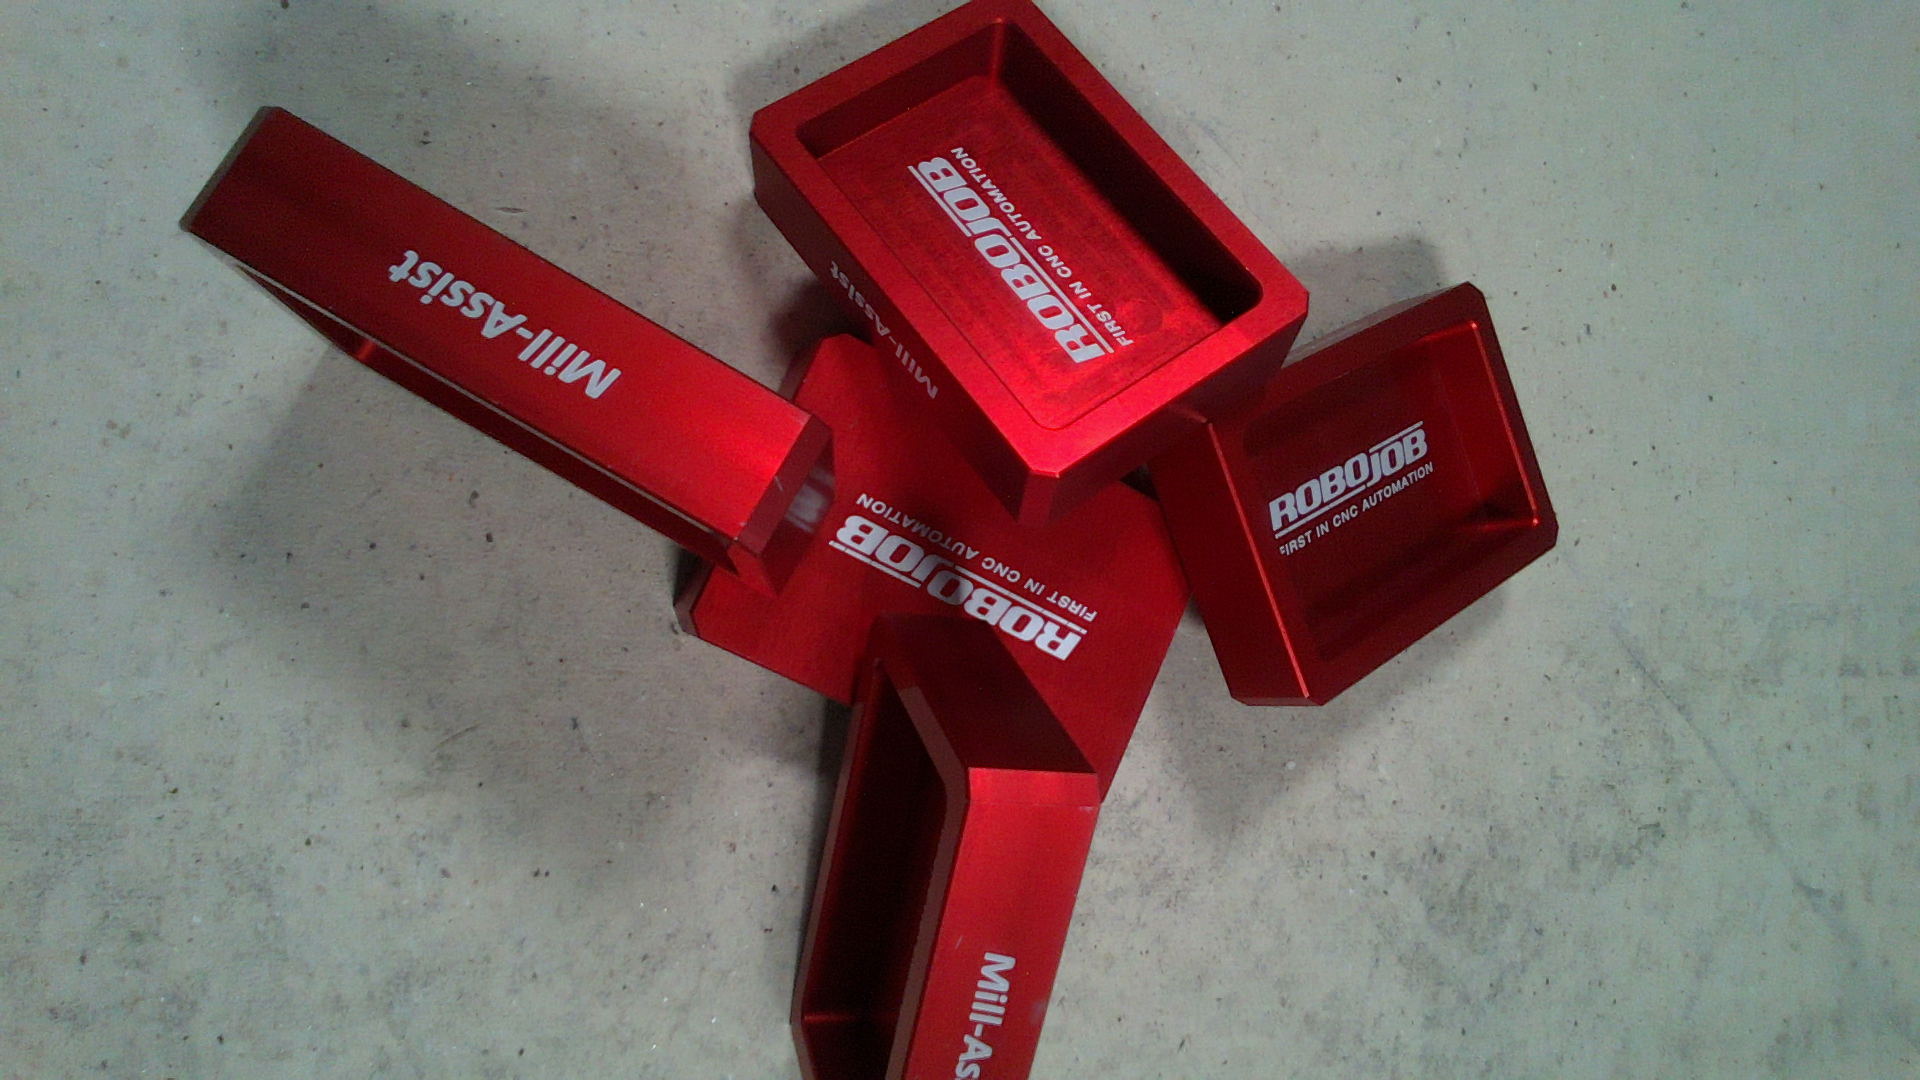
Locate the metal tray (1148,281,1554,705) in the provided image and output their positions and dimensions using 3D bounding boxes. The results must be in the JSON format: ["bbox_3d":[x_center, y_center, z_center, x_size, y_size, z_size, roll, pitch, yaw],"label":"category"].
[{"bbox_3d":[0.122,-0.017,0.418,0.130,0.030,0.090,-26,99,-33],"label":"metal tray"}]

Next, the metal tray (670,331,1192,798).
[{"bbox_3d":[-0.003,0.011,0.390,0.130,0.030,0.090,27,81,-18],"label":"metal tray"}]

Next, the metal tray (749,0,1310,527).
[{"bbox_3d":[0.016,-0.078,0.365,0.090,0.030,0.130,-33,72,-17],"label":"metal tray"}]

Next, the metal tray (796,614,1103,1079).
[{"bbox_3d":[-0.009,0.095,0.335,0.030,0.090,0.130,6,109,-19],"label":"metal tray"}]

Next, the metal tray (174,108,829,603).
[{"bbox_3d":[-0.093,-0.035,0.309,0.130,0.090,0.030,30,80,-1],"label":"metal tray"}]
